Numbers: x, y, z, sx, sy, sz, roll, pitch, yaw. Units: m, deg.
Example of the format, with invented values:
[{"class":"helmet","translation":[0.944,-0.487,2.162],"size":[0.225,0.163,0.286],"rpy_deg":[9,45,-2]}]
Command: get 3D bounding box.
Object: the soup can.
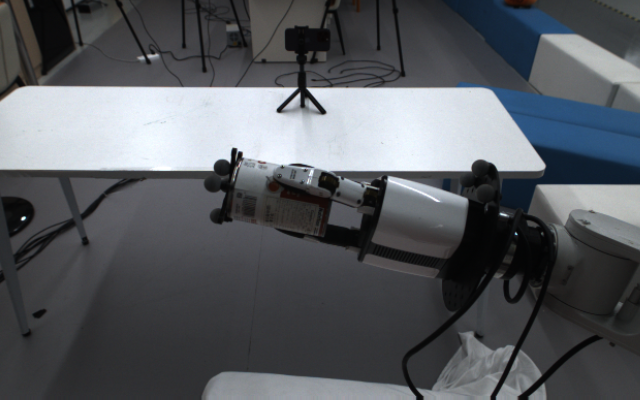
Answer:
[{"class":"soup can","translation":[-0.036,-0.003,0.510],"size":[0.101,0.067,0.067],"rpy_deg":[11,35,-2]}]
